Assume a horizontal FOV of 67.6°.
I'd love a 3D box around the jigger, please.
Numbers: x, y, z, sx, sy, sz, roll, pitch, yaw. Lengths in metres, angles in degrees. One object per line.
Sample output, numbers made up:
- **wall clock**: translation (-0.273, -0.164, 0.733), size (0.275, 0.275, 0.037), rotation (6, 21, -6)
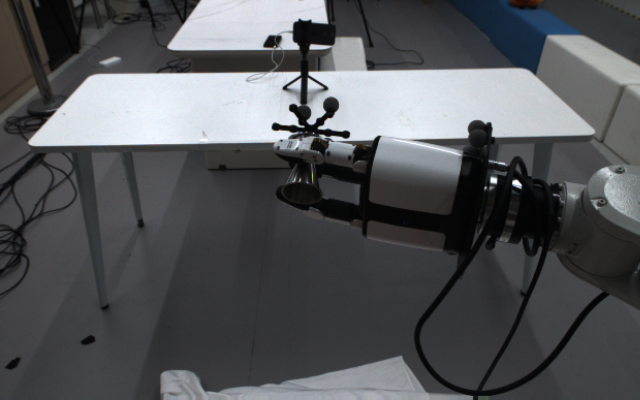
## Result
- **jigger**: translation (-0.018, -0.037, 0.528), size (0.043, 0.043, 0.071), rotation (5, 61, 5)
